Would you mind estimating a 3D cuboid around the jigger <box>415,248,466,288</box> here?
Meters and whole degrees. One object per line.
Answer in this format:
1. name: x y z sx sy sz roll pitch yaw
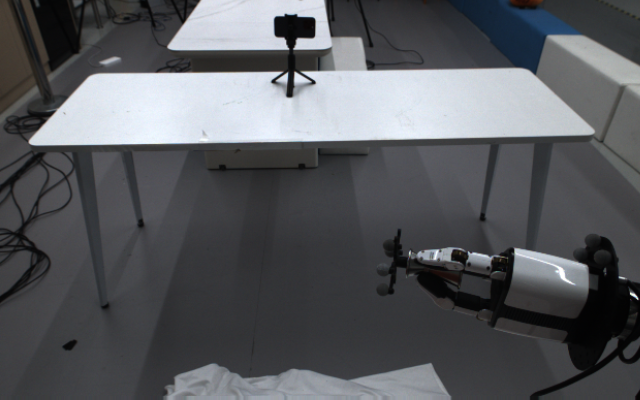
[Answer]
1. jigger: 0.154 0.082 0.623 0.071 0.043 0.043 8 35 15
